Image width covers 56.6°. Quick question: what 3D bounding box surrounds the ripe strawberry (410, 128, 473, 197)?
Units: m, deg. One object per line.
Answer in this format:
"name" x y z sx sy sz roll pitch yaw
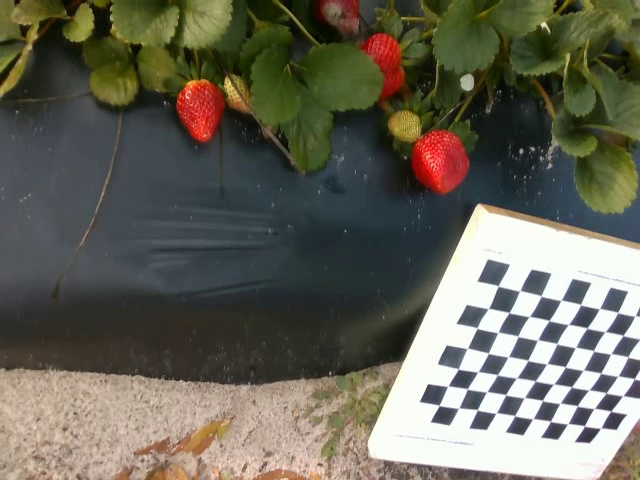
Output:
"ripe strawberry" 0.043 -0.024 0.207 0.022 0.025 0.030 8 34 11

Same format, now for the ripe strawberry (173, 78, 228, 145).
"ripe strawberry" -0.038 -0.039 0.184 0.018 0.022 0.017 -8 -15 -10
